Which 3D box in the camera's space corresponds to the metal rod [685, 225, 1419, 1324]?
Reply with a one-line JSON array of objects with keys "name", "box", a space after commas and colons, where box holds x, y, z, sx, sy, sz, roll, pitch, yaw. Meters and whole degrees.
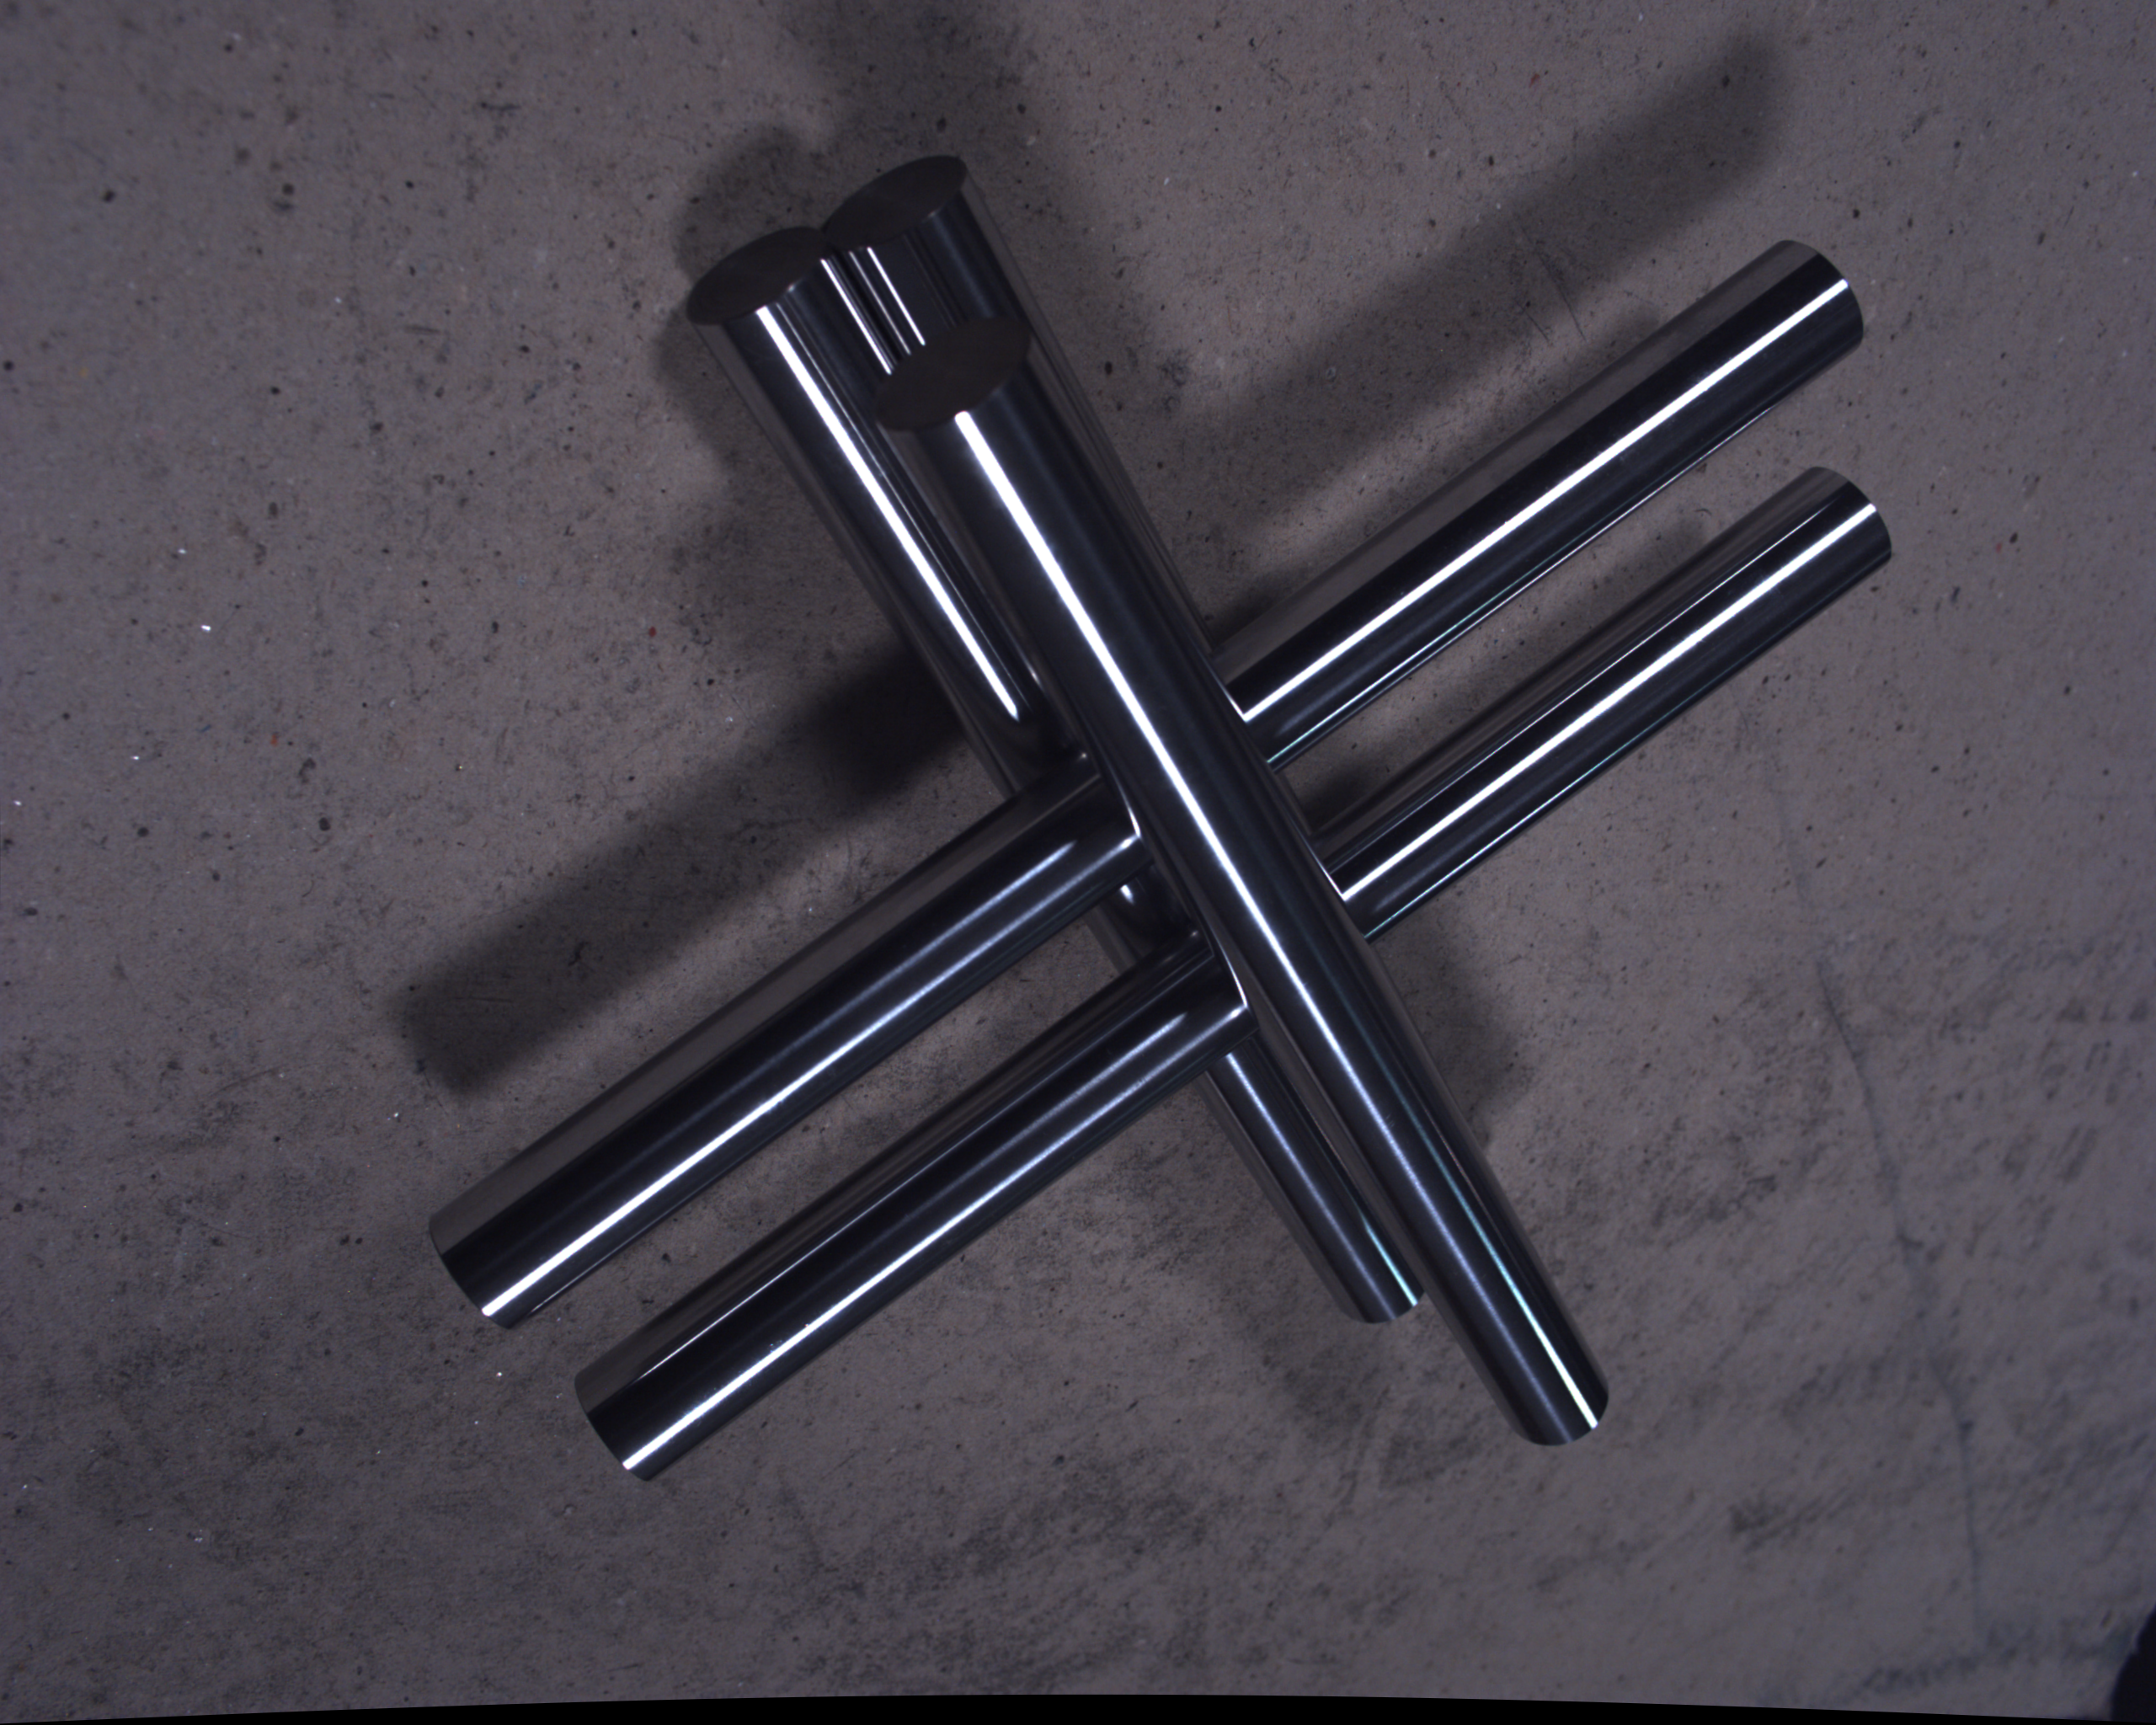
[{"name": "metal rod", "box": [0.012, 0.006, 0.420, 0.025, 0.025, 0.299, -36, 130, -4]}]

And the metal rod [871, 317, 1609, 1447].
[{"name": "metal rod", "box": [0.046, 0.028, 0.387, 0.025, 0.025, 0.299, -37, 130, -4]}]

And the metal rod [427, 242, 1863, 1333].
[{"name": "metal rod", "box": [0.016, -0.016, 0.376, 0.301, 0.025, 0.025, -36, 130, -5]}]

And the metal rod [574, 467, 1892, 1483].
[{"name": "metal rod", "box": [0.033, 0.019, 0.408, 0.301, 0.025, 0.025, -36, 130, -5]}]

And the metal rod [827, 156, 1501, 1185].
[{"name": "metal rod", "box": [0.034, -0.007, 0.424, 0.025, 0.025, 0.299, -36, 130, -4]}]
